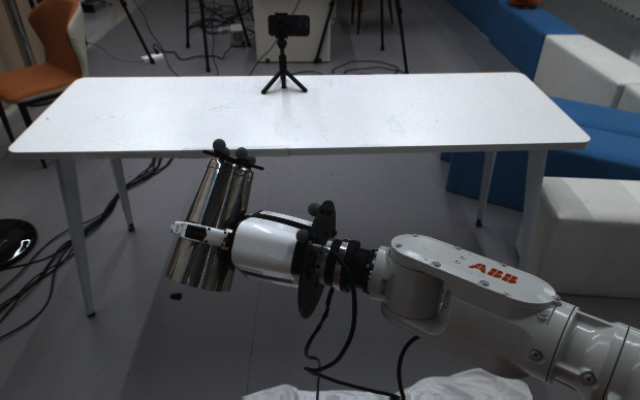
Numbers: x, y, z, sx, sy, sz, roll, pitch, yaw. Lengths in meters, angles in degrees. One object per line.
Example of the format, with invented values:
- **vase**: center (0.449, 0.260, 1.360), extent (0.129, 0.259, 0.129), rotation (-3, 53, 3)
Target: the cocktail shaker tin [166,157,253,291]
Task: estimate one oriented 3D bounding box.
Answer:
- **cocktail shaker tin**: center (-0.147, 0.034, 0.679), extent (0.093, 0.170, 0.093), rotation (15, -4, 1)
